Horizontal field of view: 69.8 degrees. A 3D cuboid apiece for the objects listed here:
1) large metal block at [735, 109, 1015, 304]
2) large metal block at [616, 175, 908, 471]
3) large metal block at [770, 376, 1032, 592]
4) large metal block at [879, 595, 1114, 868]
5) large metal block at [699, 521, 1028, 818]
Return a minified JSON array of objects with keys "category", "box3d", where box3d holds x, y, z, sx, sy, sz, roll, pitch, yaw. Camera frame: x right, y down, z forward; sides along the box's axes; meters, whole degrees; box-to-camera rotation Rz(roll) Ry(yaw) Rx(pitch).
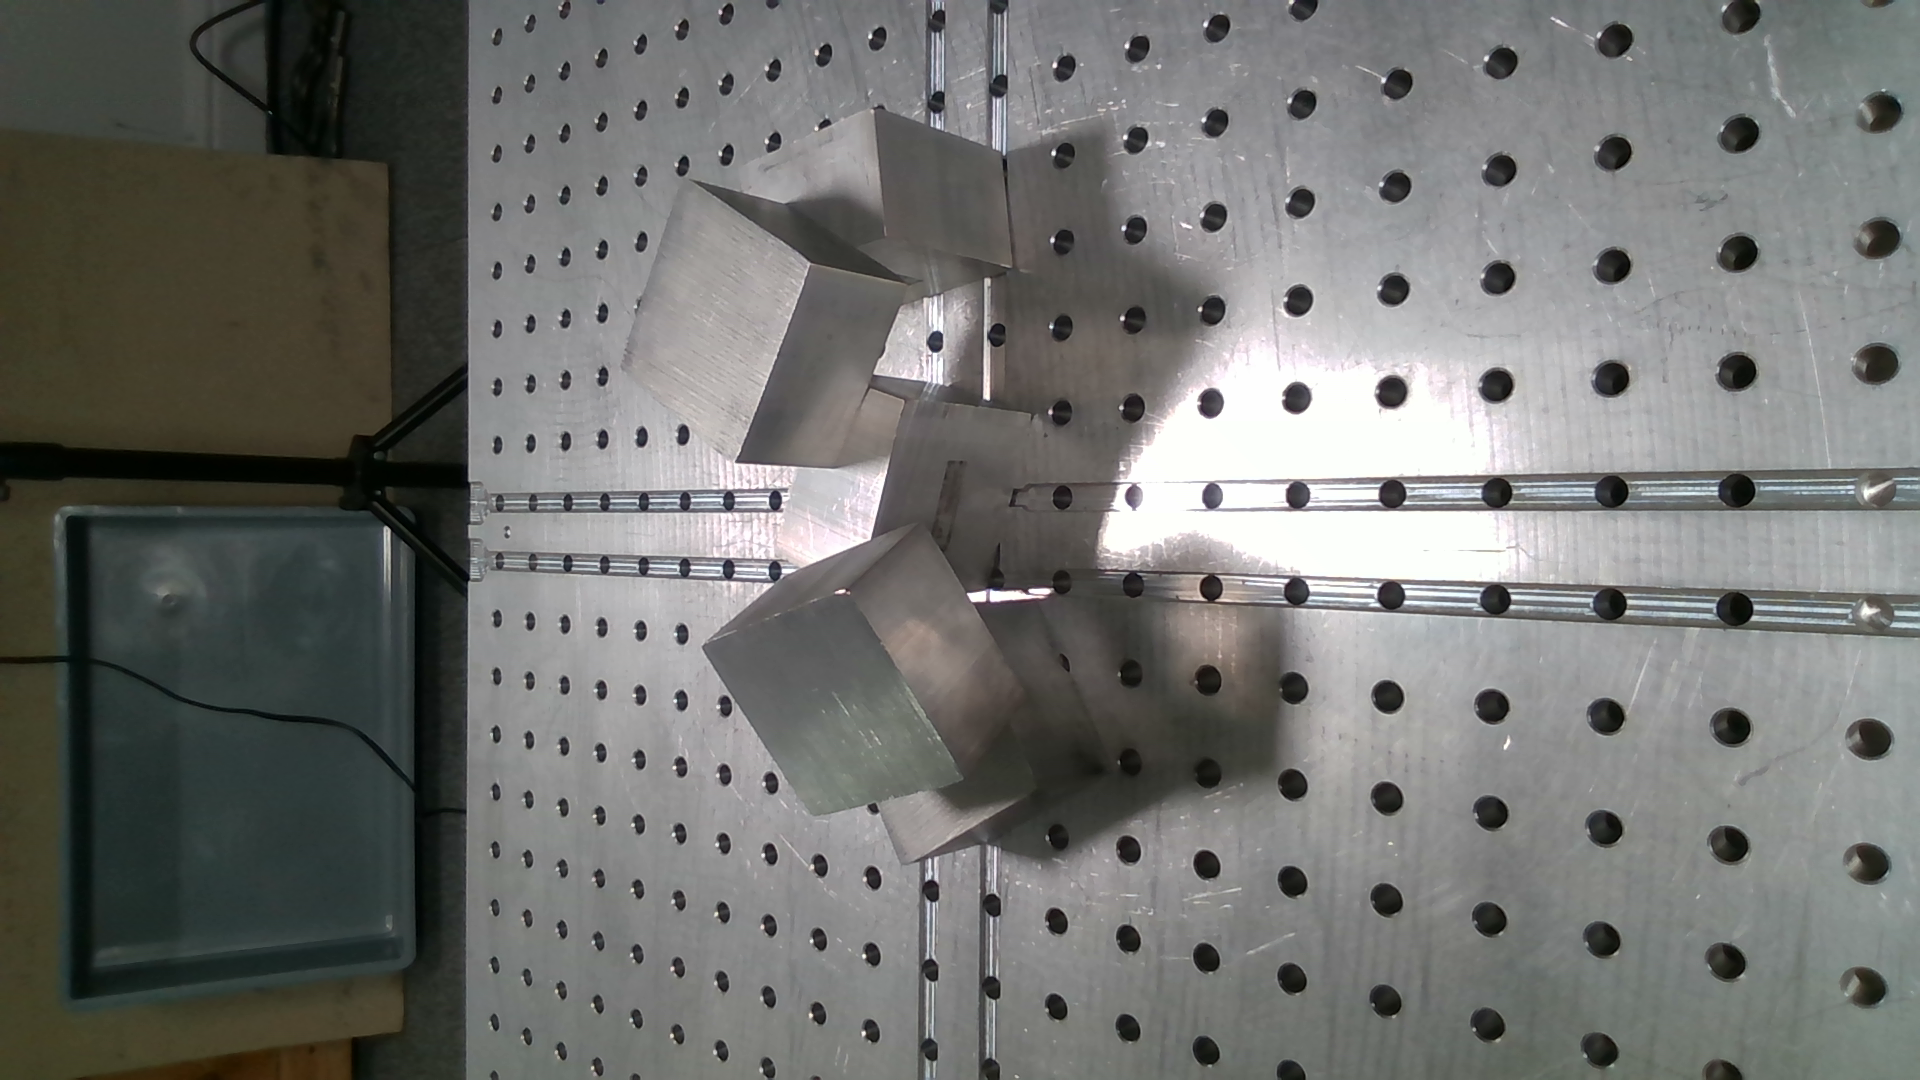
[{"category":"large metal block","box3d":[-0.035,-0.135,0.577,0.080,0.080,0.050,-8,85,40]},{"category":"large metal block","box3d":[-0.078,-0.082,0.527,0.080,0.050,0.080,38,113,33]},{"category":"large metal block","box3d":[-0.024,-0.023,0.568,0.050,0.080,0.080,24,106,38]},{"category":"large metal block","box3d":[0.004,0.078,0.567,0.080,0.050,0.080,-37,67,34]},{"category":"large metal block","box3d":[-0.035,0.050,0.509,0.080,0.050,0.080,-21,106,39]}]
